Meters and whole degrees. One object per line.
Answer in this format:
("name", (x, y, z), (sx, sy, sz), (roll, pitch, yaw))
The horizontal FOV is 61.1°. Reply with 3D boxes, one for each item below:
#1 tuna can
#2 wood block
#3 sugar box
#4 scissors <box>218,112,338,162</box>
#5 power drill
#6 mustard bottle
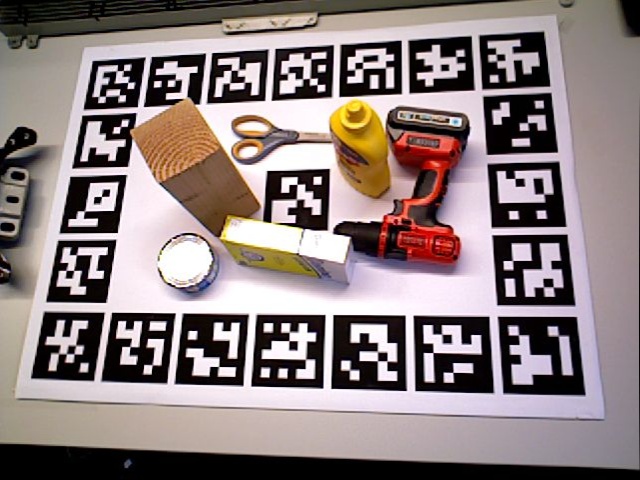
("tuna can", (-0.193, 0.035, 0.792), (0.086, 0.034, 0.085), (-2, 74, 7))
("wood block", (-0.158, -0.091, 0.746), (0.091, 0.208, 0.089), (-27, 72, -1))
("sugar box", (-0.033, 0.019, 0.745), (0.176, 0.094, 0.045), (12, 71, 10))
("scissors", (-0.064, -0.160, 0.841), (0.203, 0.016, 0.087), (2, 70, 10))
("power drill", (0.114, -0.060, 0.761), (0.185, 0.057, 0.187), (13, 83, 13))
("mustard bottle", (0.061, -0.127, 0.727), (0.058, 0.193, 0.096), (-39, 72, -5))
